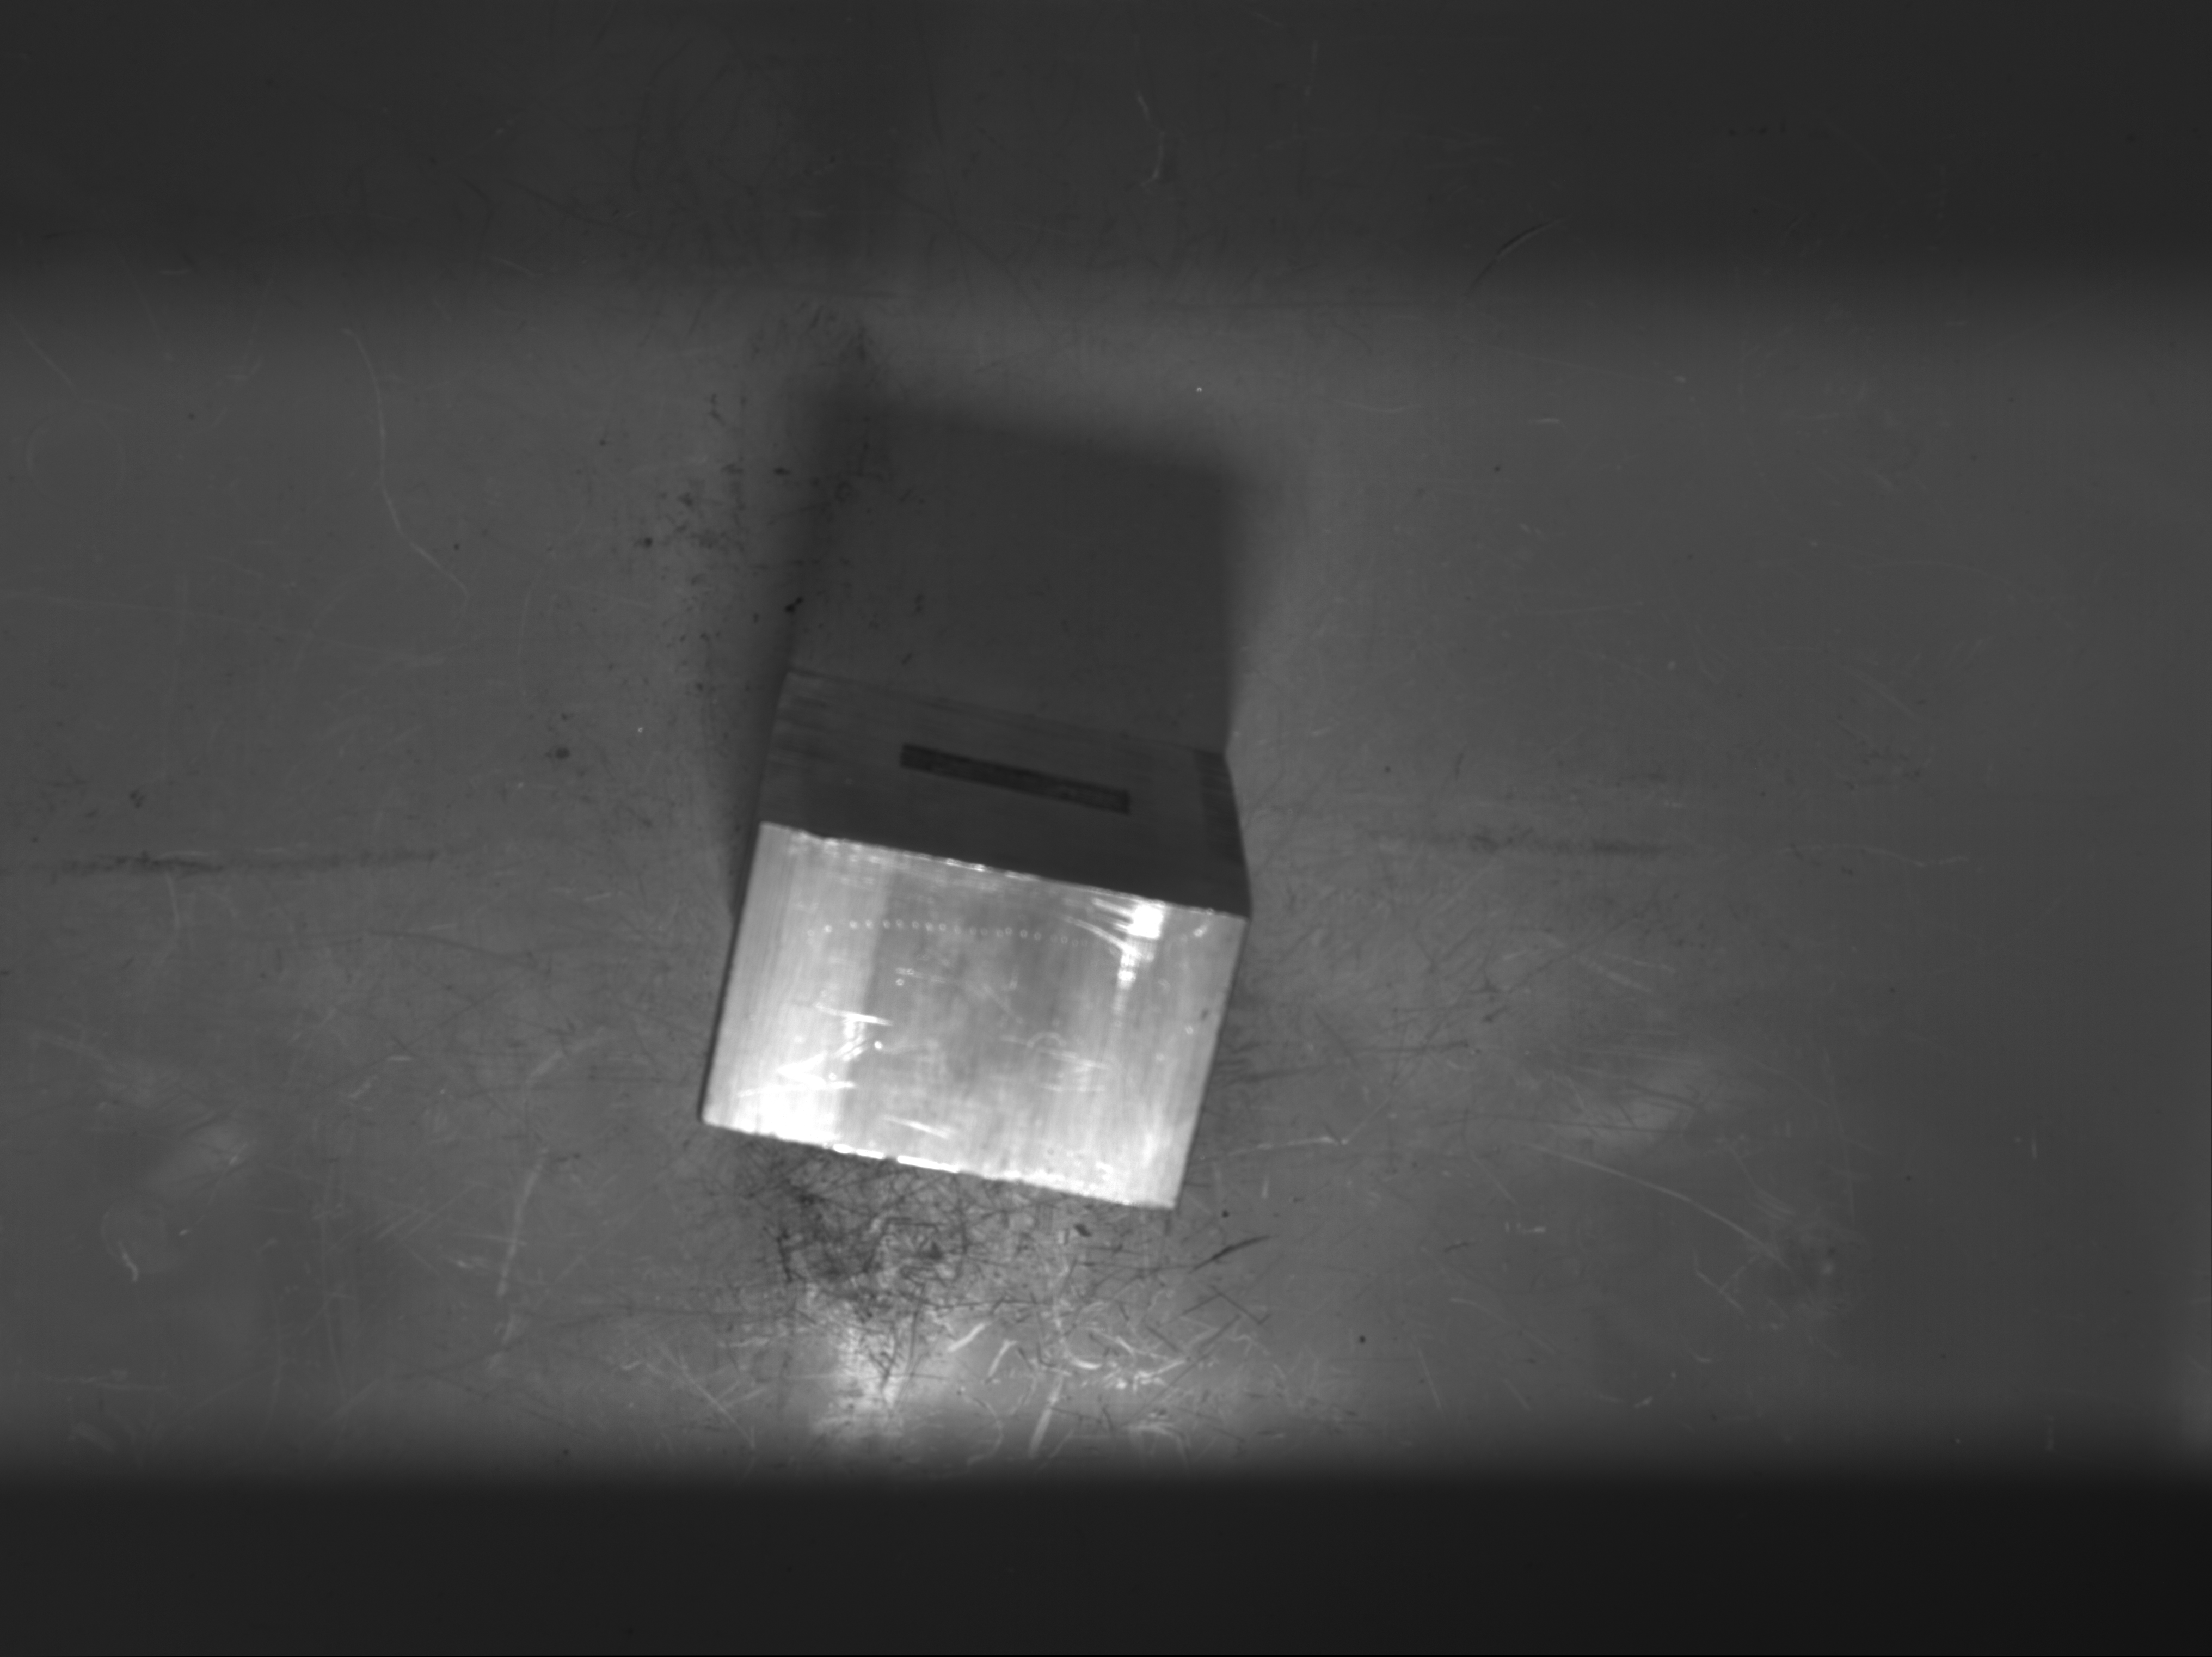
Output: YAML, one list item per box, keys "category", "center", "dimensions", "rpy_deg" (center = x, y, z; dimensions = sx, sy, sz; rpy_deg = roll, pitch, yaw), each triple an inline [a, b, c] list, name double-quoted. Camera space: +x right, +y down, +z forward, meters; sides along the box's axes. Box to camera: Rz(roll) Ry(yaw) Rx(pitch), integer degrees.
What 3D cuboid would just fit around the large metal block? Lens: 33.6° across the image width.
- category: "large metal block"
  center: [-0.019, 0.018, 0.618]
  dimensions: [0.080, 0.080, 0.050]
  rpy_deg: [12, 109, -5]
